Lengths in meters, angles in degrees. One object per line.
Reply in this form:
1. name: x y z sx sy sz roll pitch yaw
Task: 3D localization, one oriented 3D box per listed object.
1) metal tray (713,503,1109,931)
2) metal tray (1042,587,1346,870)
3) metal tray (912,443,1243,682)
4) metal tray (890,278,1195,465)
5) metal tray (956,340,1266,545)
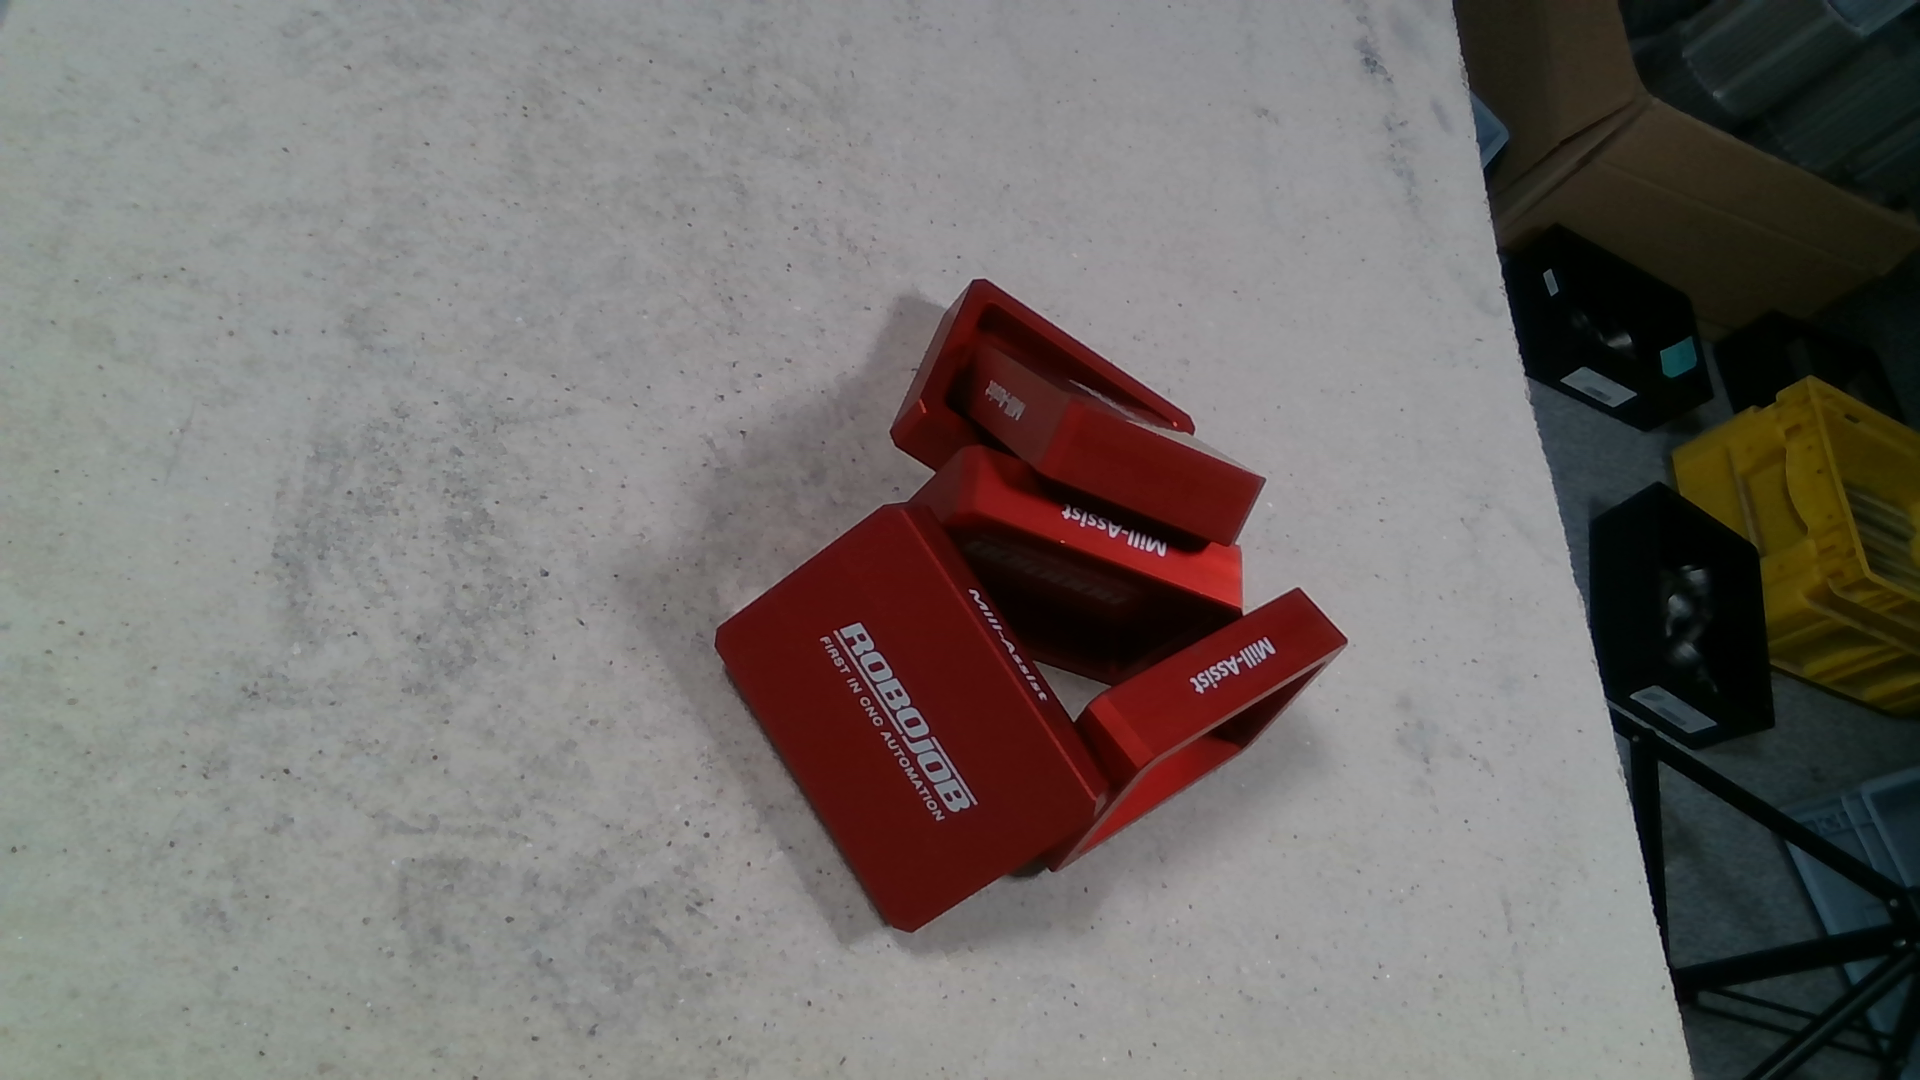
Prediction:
1. metal tray: -0.018 0.062 0.499 0.130 0.090 0.030 56 16 6
2. metal tray: 0.088 0.075 0.555 0.130 0.090 0.030 -22 64 -38
3. metal tray: 0.037 0.014 0.560 0.130 0.090 0.030 20 56 -21
4. metal tray: 0.041 -0.051 0.636 0.130 0.030 0.090 32 53 -14
5. metal tray: 0.057 -0.044 0.572 0.090 0.030 0.130 20 12 -21
